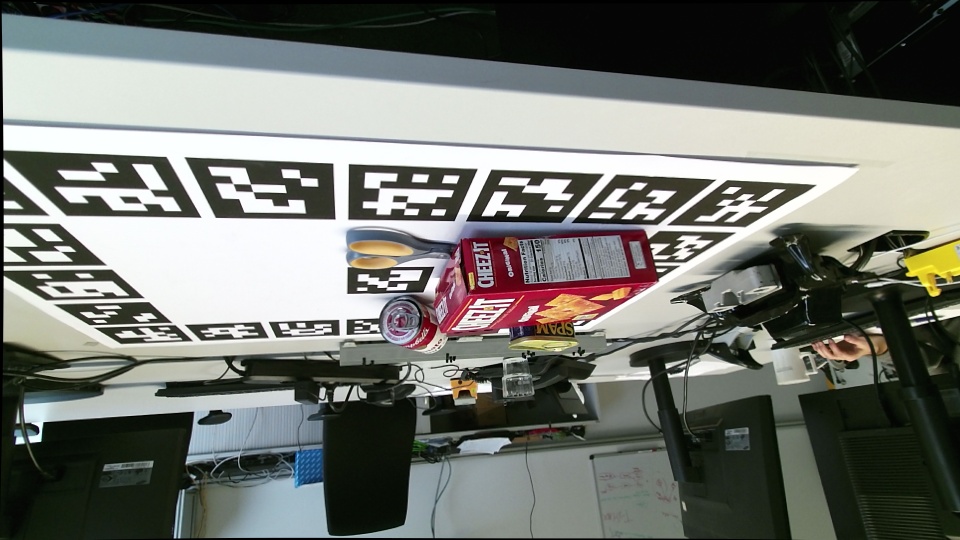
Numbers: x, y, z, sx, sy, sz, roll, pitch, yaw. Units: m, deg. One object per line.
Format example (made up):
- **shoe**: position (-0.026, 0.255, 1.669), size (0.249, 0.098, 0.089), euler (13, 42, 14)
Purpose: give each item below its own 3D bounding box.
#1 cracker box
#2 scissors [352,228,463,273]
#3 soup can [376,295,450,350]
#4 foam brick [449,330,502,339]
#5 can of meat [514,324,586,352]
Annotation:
- **cracker box**: position (0.077, 0.019, 0.624), size (0.214, 0.071, 0.164), euler (-6, 158, -12)
- **scissors**: position (-0.031, -0.023, 0.575), size (0.204, 0.016, 0.088), euler (-3, 156, -11)
- **soup can**: position (-0.094, 0.078, 0.778), size (0.068, 0.067, 0.102), euler (-16, 161, 19)
- **foam brick**: position (-0.008, 0.066, 0.775), size (0.078, 0.051, 0.053), euler (-5, 156, -5)
- **can of meat**: position (0.094, 0.069, 0.764), size (0.102, 0.083, 0.058), euler (6, 153, -27)
